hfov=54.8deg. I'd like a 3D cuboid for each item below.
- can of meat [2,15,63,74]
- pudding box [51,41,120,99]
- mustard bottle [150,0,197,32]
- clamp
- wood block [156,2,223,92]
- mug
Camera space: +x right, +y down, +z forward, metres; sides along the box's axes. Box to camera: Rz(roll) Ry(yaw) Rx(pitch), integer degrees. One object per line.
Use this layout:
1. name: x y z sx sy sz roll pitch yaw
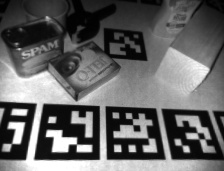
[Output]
1. can of meat: -0.145 -0.076 0.410 0.102 0.084 0.057 -26 66 -25
2. pudding box: -0.051 -0.039 0.439 0.115 0.038 0.089 -35 70 -30
3. mustard bottle: 0.159 -0.215 0.505 0.097 0.192 0.058 -3 58 -11
4. clamp: -0.064 -0.177 0.534 0.122 0.036 0.165 20 57 -1
5. wood block: 0.197 -0.096 0.503 0.089 0.091 0.207 33 55 13
6. mug: -0.143 -0.150 0.493 0.093 0.081 0.117 21 57 3
